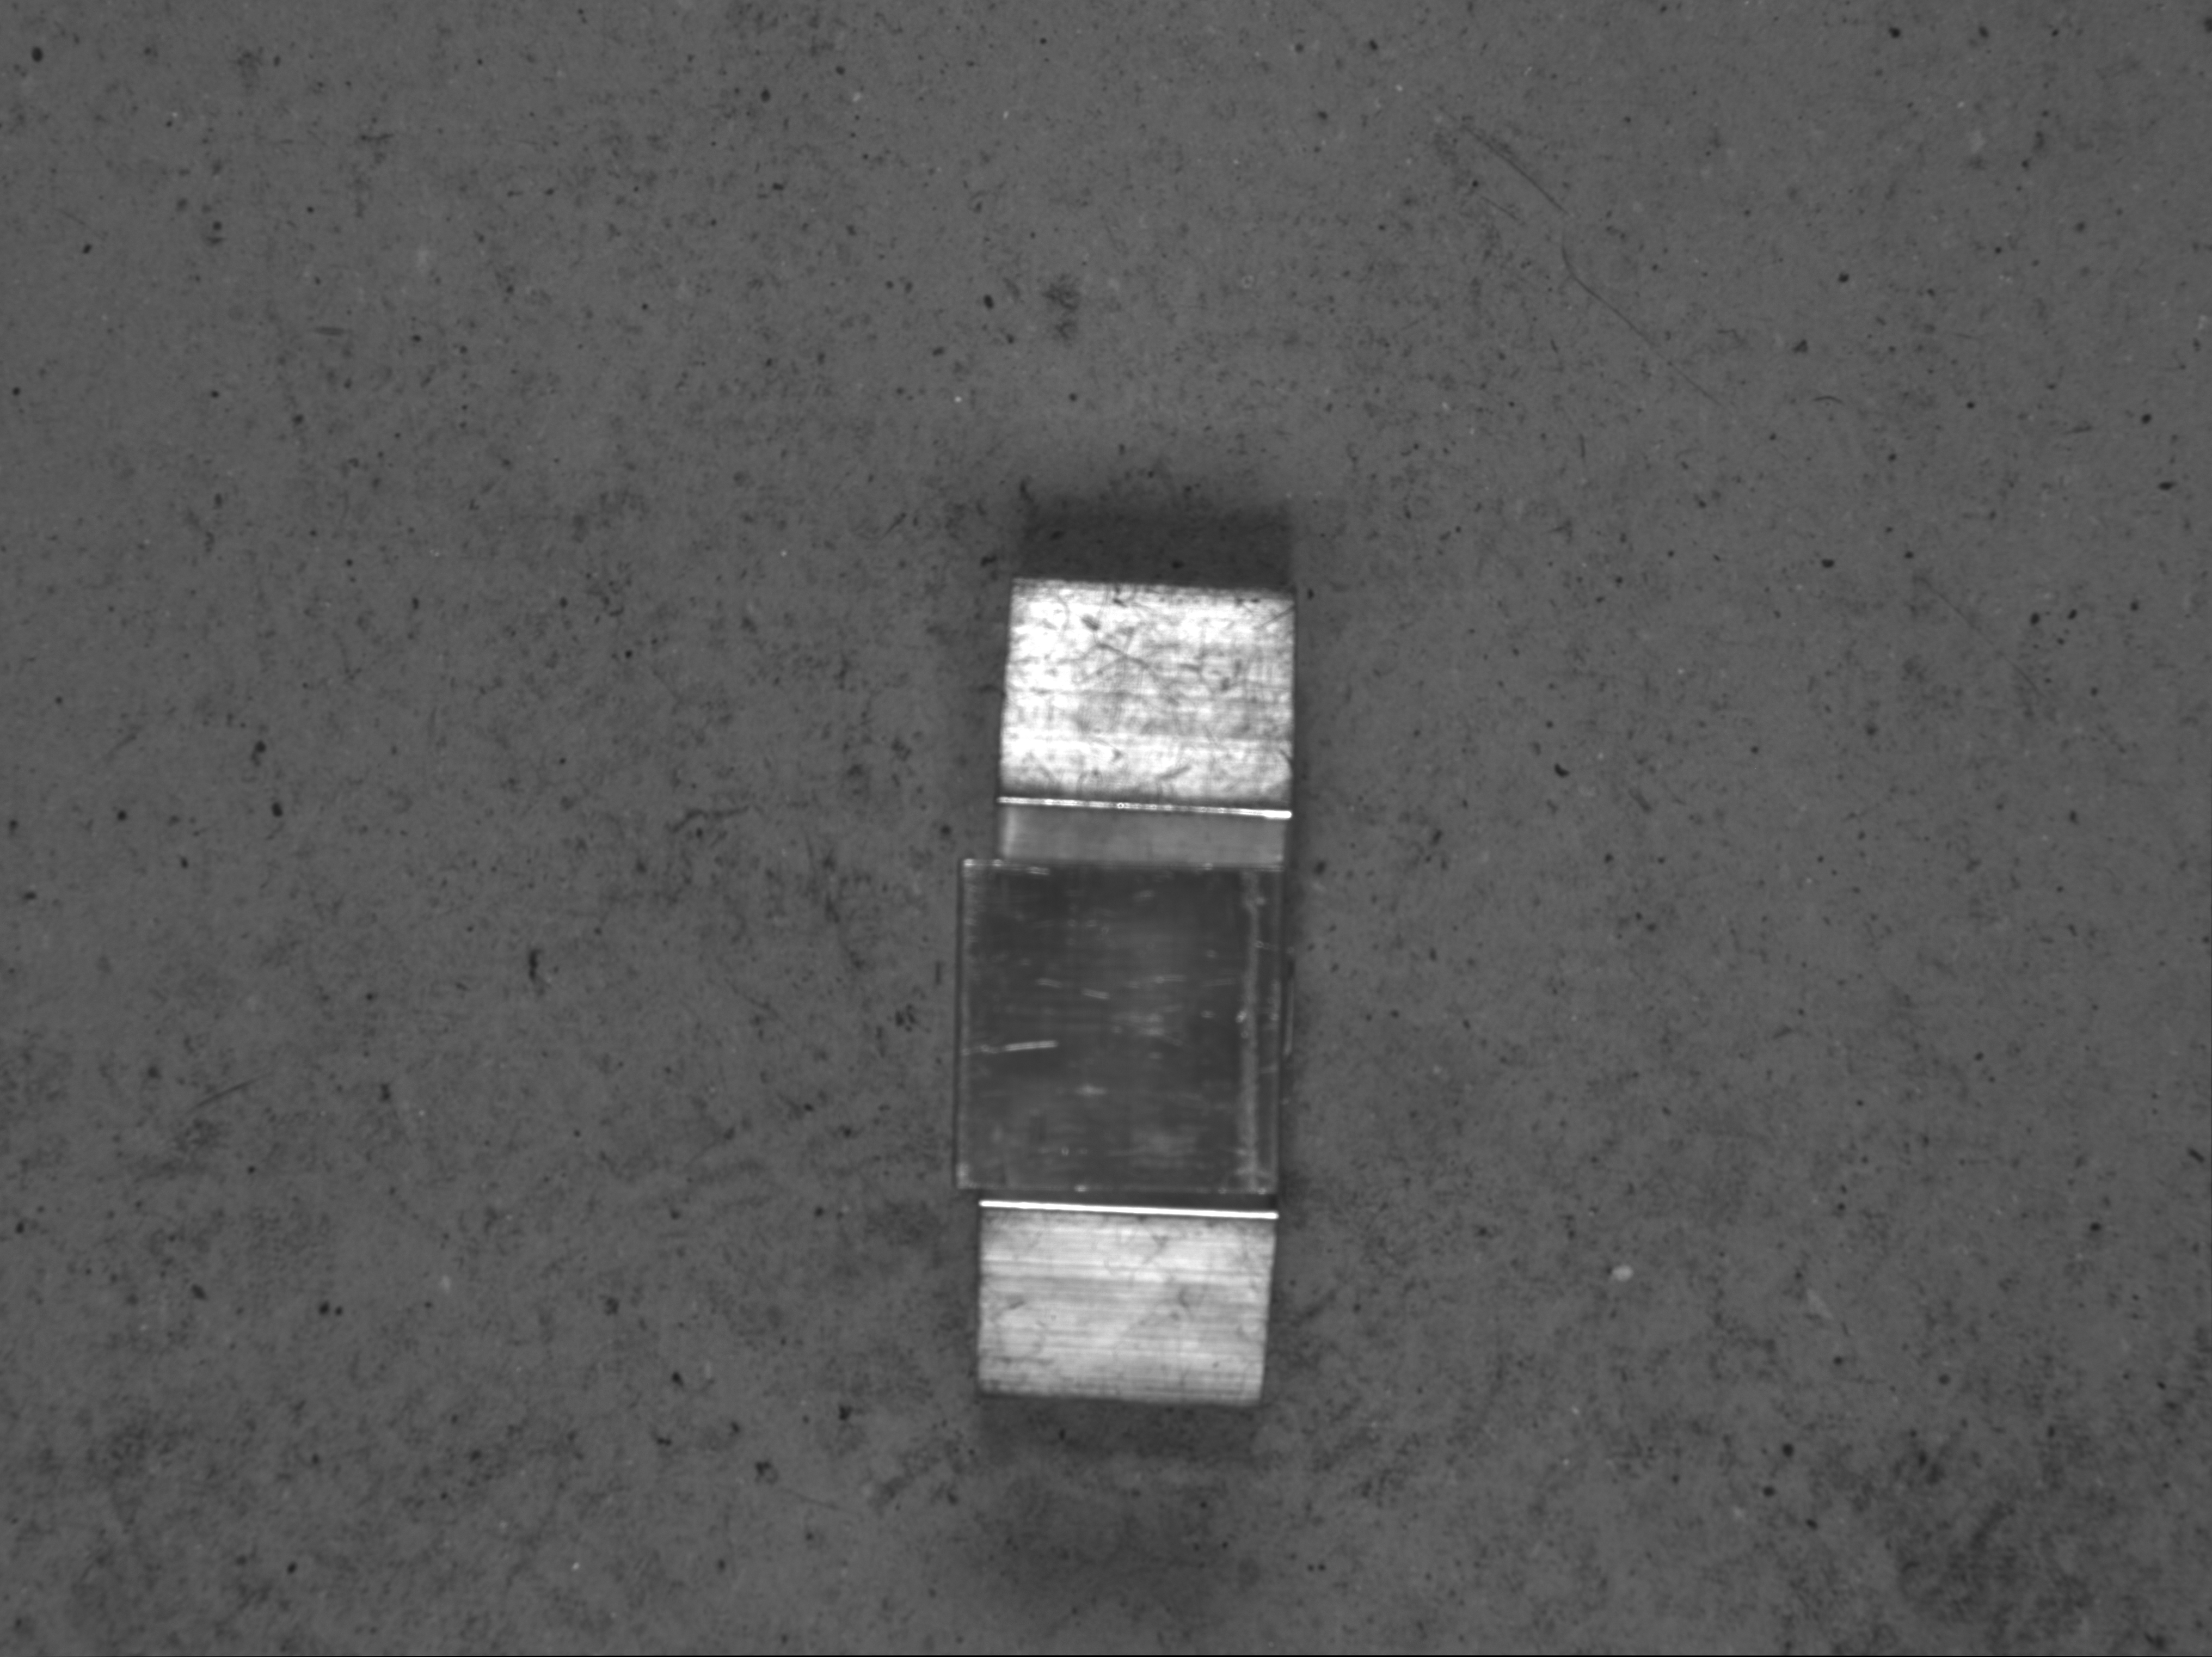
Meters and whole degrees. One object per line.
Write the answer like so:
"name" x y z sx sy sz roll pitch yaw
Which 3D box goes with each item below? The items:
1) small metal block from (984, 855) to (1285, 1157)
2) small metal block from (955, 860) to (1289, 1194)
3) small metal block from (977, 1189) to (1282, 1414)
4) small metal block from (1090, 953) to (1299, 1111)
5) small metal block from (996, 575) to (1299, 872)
"small metal block" 0.005 0.031 0.646 0.050 0.025 0.050 2 90 0
"small metal block" 0.002 0.030 0.570 0.050 0.025 0.050 1 90 0
"small metal block" 0.004 0.074 0.633 0.050 0.025 0.050 2 130 0
"small metal block" 0.005 0.031 0.607 0.050 0.050 0.025 2 90 0
"small metal block" 0.007 -0.016 0.633 0.050 0.025 0.050 3 54 0
